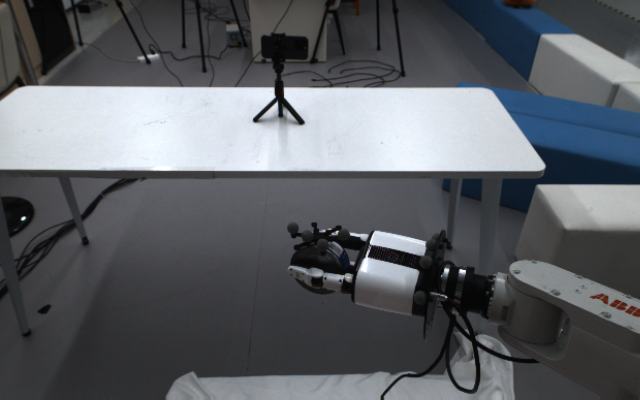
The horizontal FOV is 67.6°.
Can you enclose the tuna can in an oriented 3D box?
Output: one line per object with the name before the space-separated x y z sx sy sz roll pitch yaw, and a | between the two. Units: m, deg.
tuna can | 0.003 0.097 0.731 0.085 0.085 0.034 14 29 16
